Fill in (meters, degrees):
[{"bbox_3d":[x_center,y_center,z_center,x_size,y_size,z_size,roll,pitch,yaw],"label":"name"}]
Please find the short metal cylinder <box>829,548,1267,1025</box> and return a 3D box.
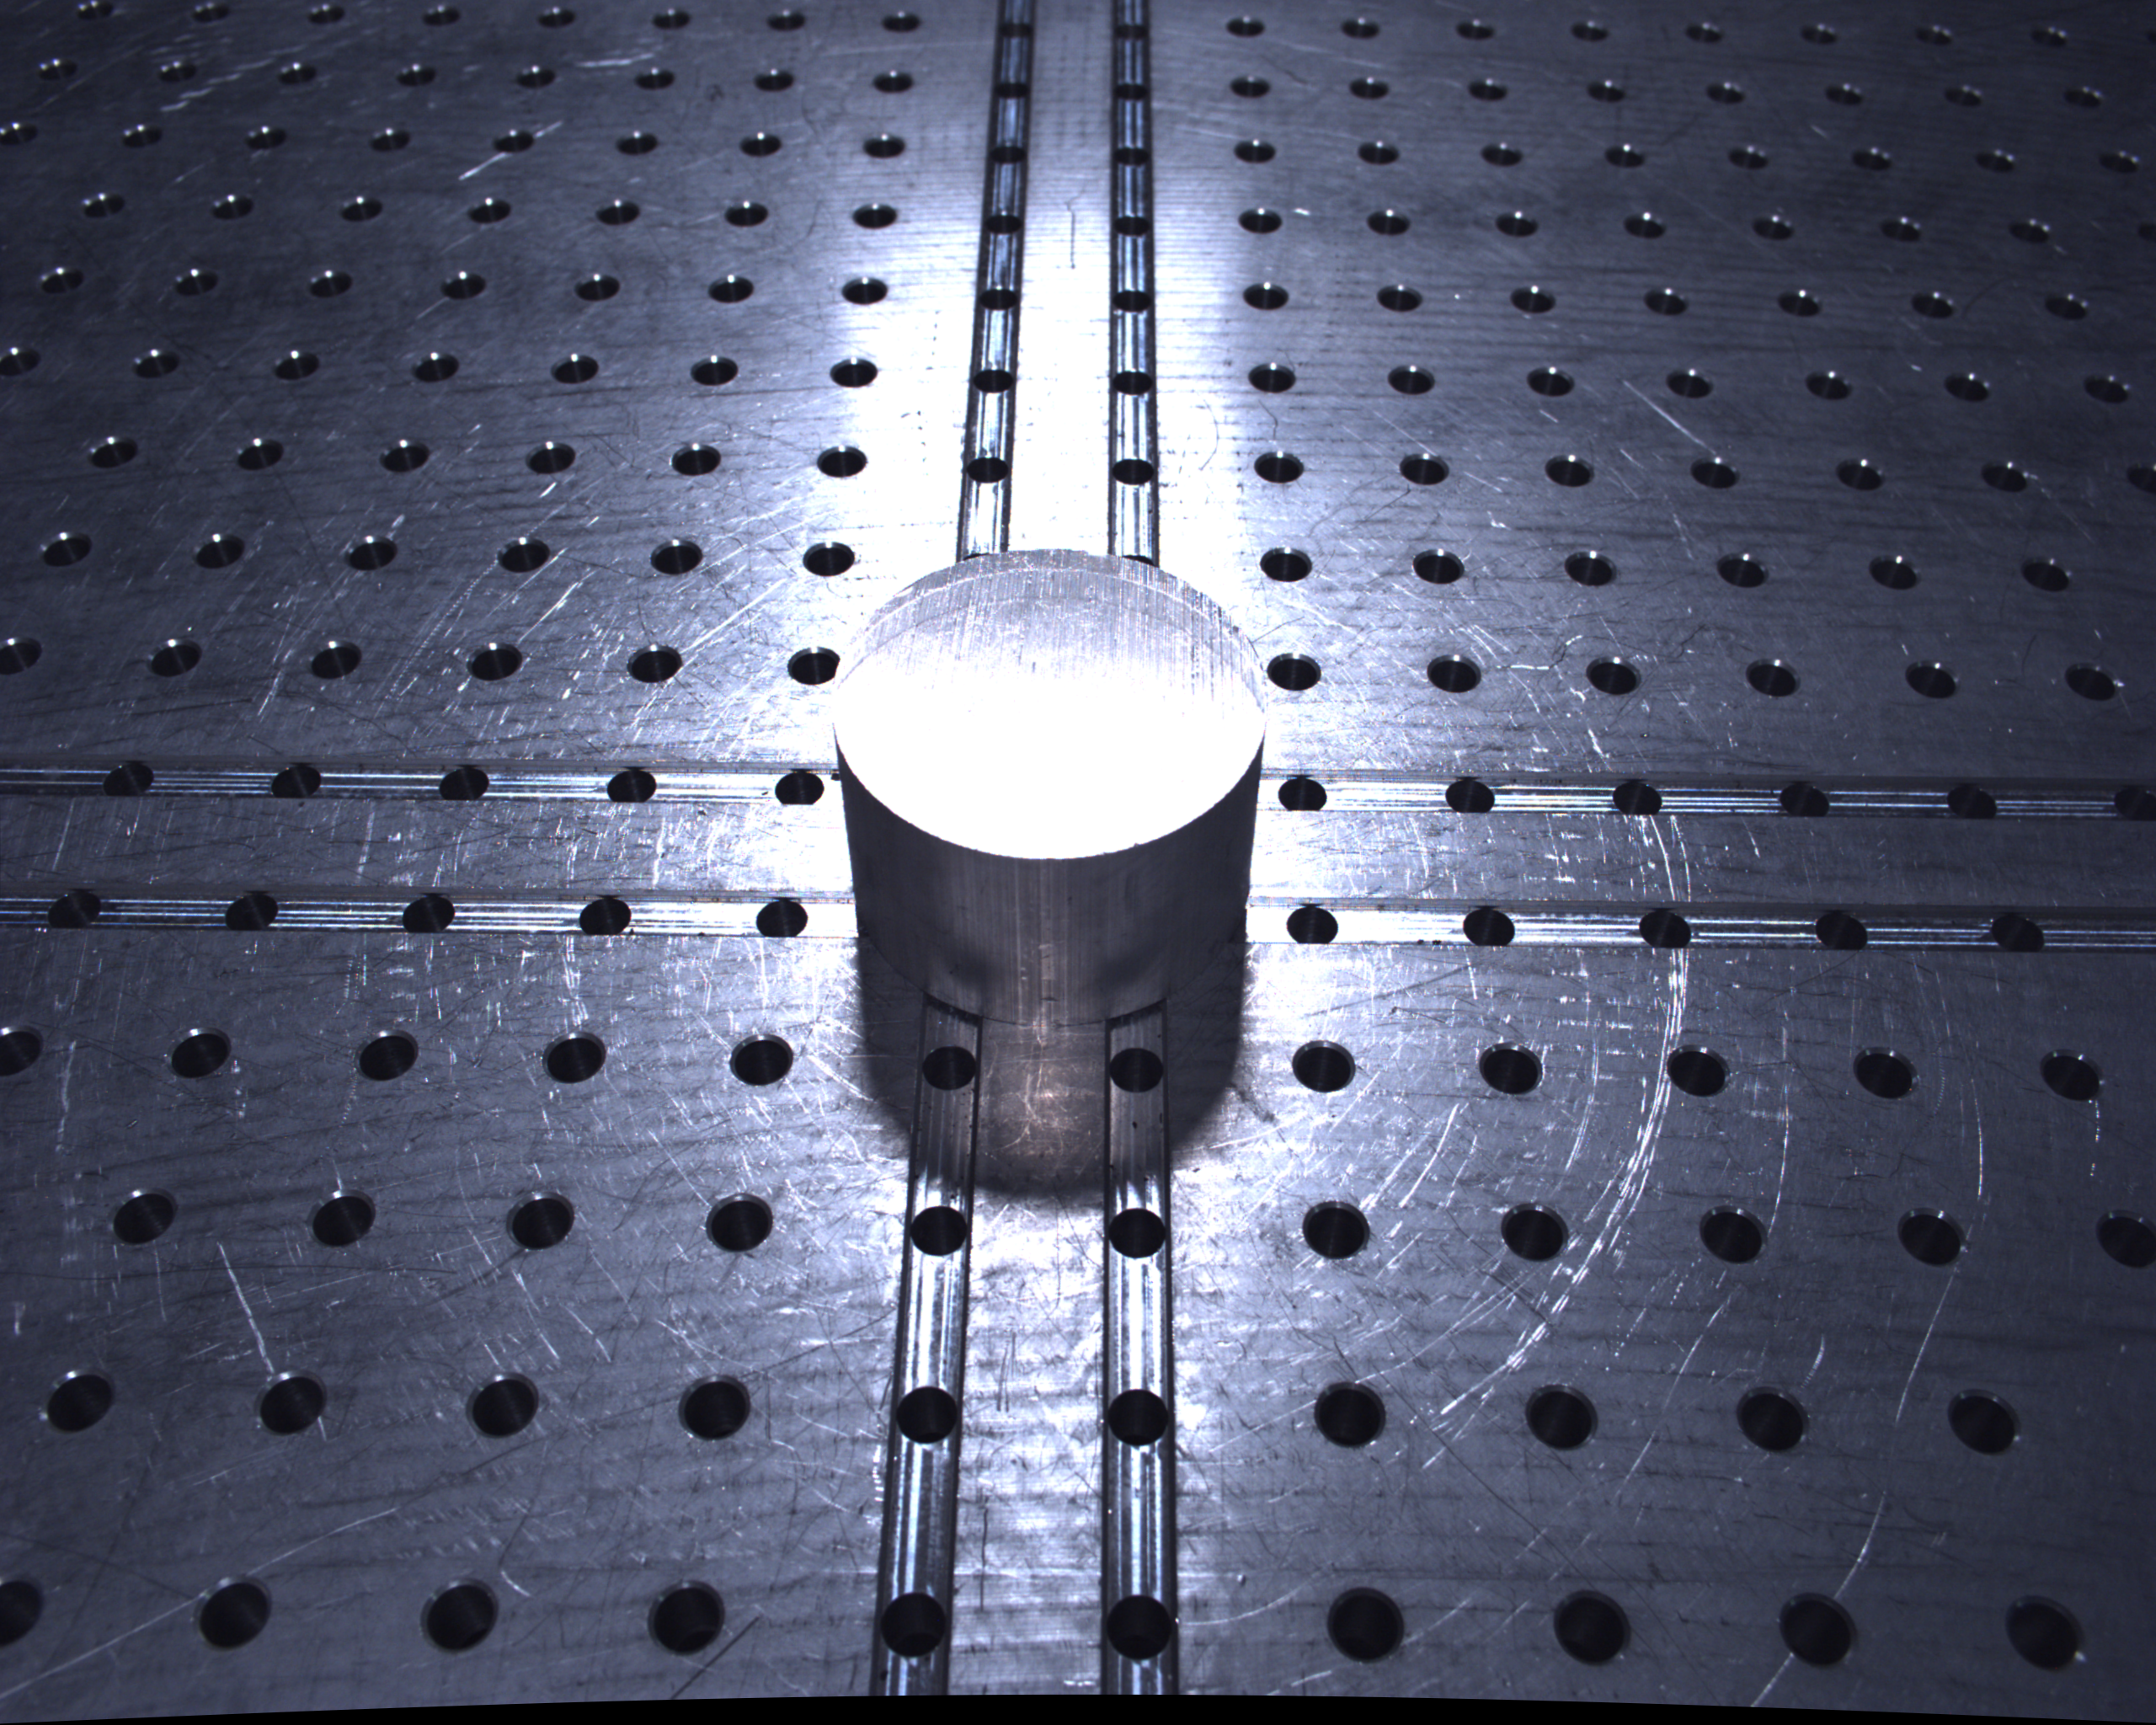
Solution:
[{"bbox_3d":[-0.006,-0.015,0.404,0.081,0.050,0.080,0,50,0],"label":"short metal cylinder"}]
